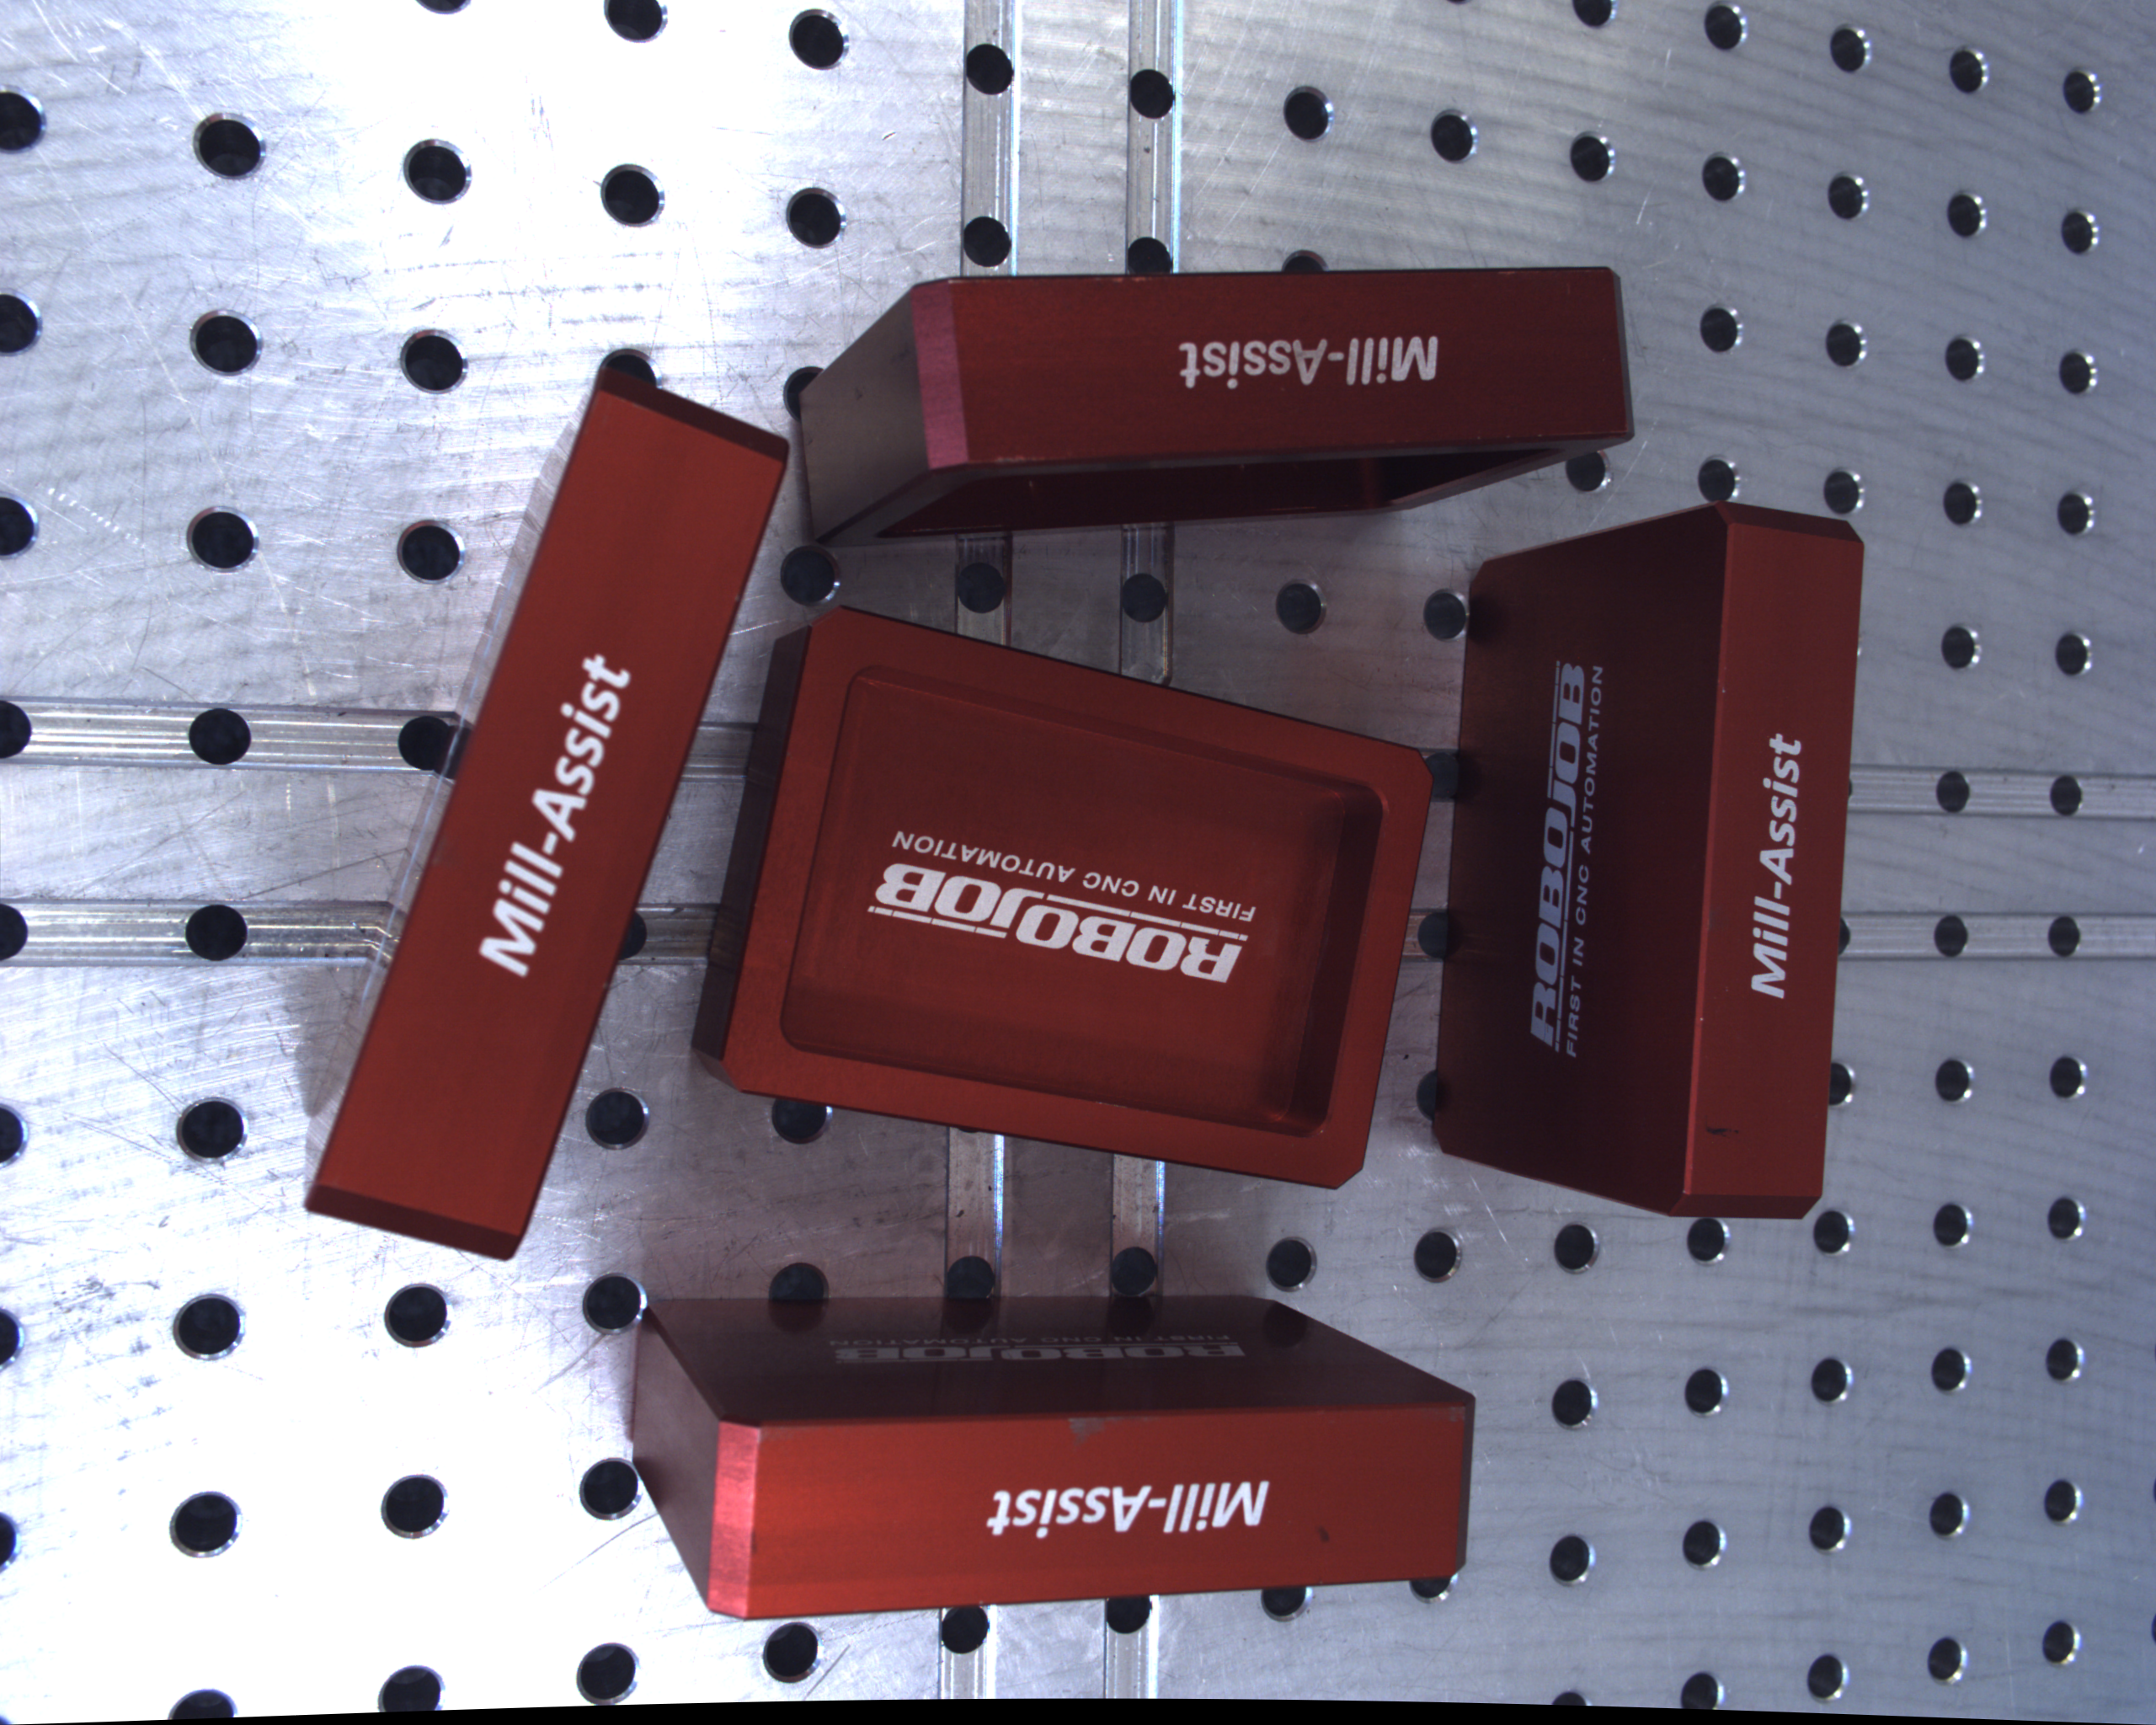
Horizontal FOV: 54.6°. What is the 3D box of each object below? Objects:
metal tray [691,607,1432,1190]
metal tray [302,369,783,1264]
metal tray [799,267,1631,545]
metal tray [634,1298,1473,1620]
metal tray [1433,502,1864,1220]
[{"bbox_3d":[-0.001,0.009,0.408,0.131,0.030,0.090,12,86,-20],"label":"metal tray"},{"bbox_3d":[-0.091,-0.007,0.344,0.030,0.090,0.130,19,83,-19],"label":"metal tray"},{"bbox_3d":[0.023,-0.083,0.385,0.131,0.090,0.030,-7,93,-20],"label":"metal tray"},{"bbox_3d":[-0.008,0.102,0.375,0.131,0.090,0.030,4,89,-20],"label":"metal tray"},{"bbox_3d":[0.111,0.000,0.418,0.030,0.090,0.129,5,88,-20],"label":"metal tray"}]
